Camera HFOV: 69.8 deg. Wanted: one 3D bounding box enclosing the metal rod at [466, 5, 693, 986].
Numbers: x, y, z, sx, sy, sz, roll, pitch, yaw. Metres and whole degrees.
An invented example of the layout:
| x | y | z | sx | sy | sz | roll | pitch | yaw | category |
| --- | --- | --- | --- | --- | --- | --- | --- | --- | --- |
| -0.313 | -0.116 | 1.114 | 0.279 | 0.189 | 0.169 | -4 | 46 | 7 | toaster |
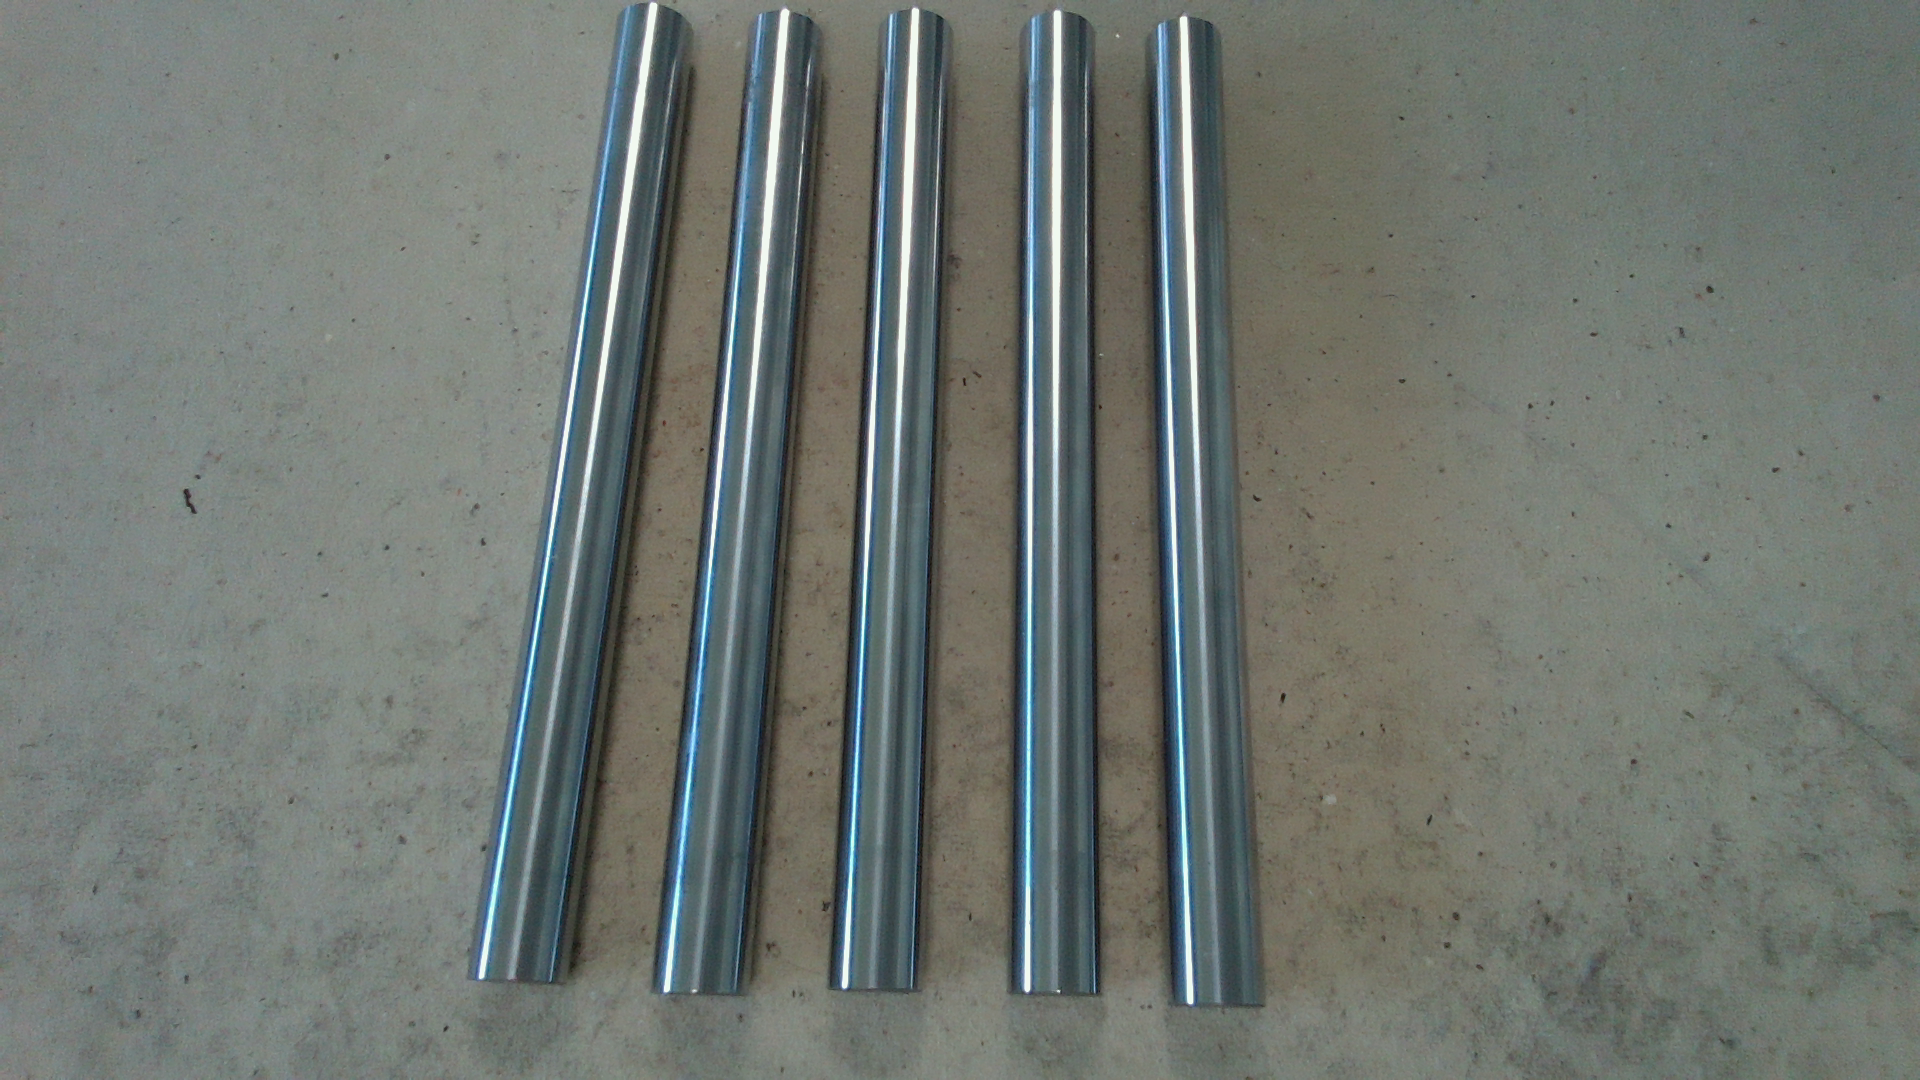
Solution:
| x | y | z | sx | sy | sz | roll | pitch | yaw | category |
| --- | --- | --- | --- | --- | --- | --- | --- | --- | --- |
| -0.106 | -0.027 | 0.403 | 0.025 | 0.025 | 0.300 | 2 | 70 | 1 | metal rod |

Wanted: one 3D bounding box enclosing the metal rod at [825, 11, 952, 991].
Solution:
| x | y | z | sx | sy | sz | roll | pitch | yaw | category |
| --- | --- | --- | --- | --- | --- | --- | --- | --- | --- |
| -0.019 | -0.026 | 0.404 | 0.025 | 0.025 | 0.300 | 1 | 70 | 1 | metal rod |

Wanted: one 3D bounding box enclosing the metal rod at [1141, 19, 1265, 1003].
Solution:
| x | y | z | sx | sy | sz | roll | pitch | yaw | category |
| --- | --- | --- | --- | --- | --- | --- | --- | --- | --- |
| 0.069 | -0.023 | 0.403 | 0.025 | 0.025 | 0.300 | 1 | 70 | 1 | metal rod |

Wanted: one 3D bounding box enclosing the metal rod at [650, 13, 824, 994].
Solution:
| x | y | z | sx | sy | sz | roll | pitch | yaw | category |
| --- | --- | --- | --- | --- | --- | --- | --- | --- | --- |
| -0.062 | -0.025 | 0.403 | 0.025 | 0.025 | 0.300 | 2 | 70 | 1 | metal rod |

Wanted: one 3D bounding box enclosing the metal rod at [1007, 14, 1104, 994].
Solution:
| x | y | z | sx | sy | sz | roll | pitch | yaw | category |
| --- | --- | --- | --- | --- | --- | --- | --- | --- | --- |
| 0.028 | -0.025 | 0.404 | 0.025 | 0.025 | 0.300 | 1 | 70 | 1 | metal rod |
